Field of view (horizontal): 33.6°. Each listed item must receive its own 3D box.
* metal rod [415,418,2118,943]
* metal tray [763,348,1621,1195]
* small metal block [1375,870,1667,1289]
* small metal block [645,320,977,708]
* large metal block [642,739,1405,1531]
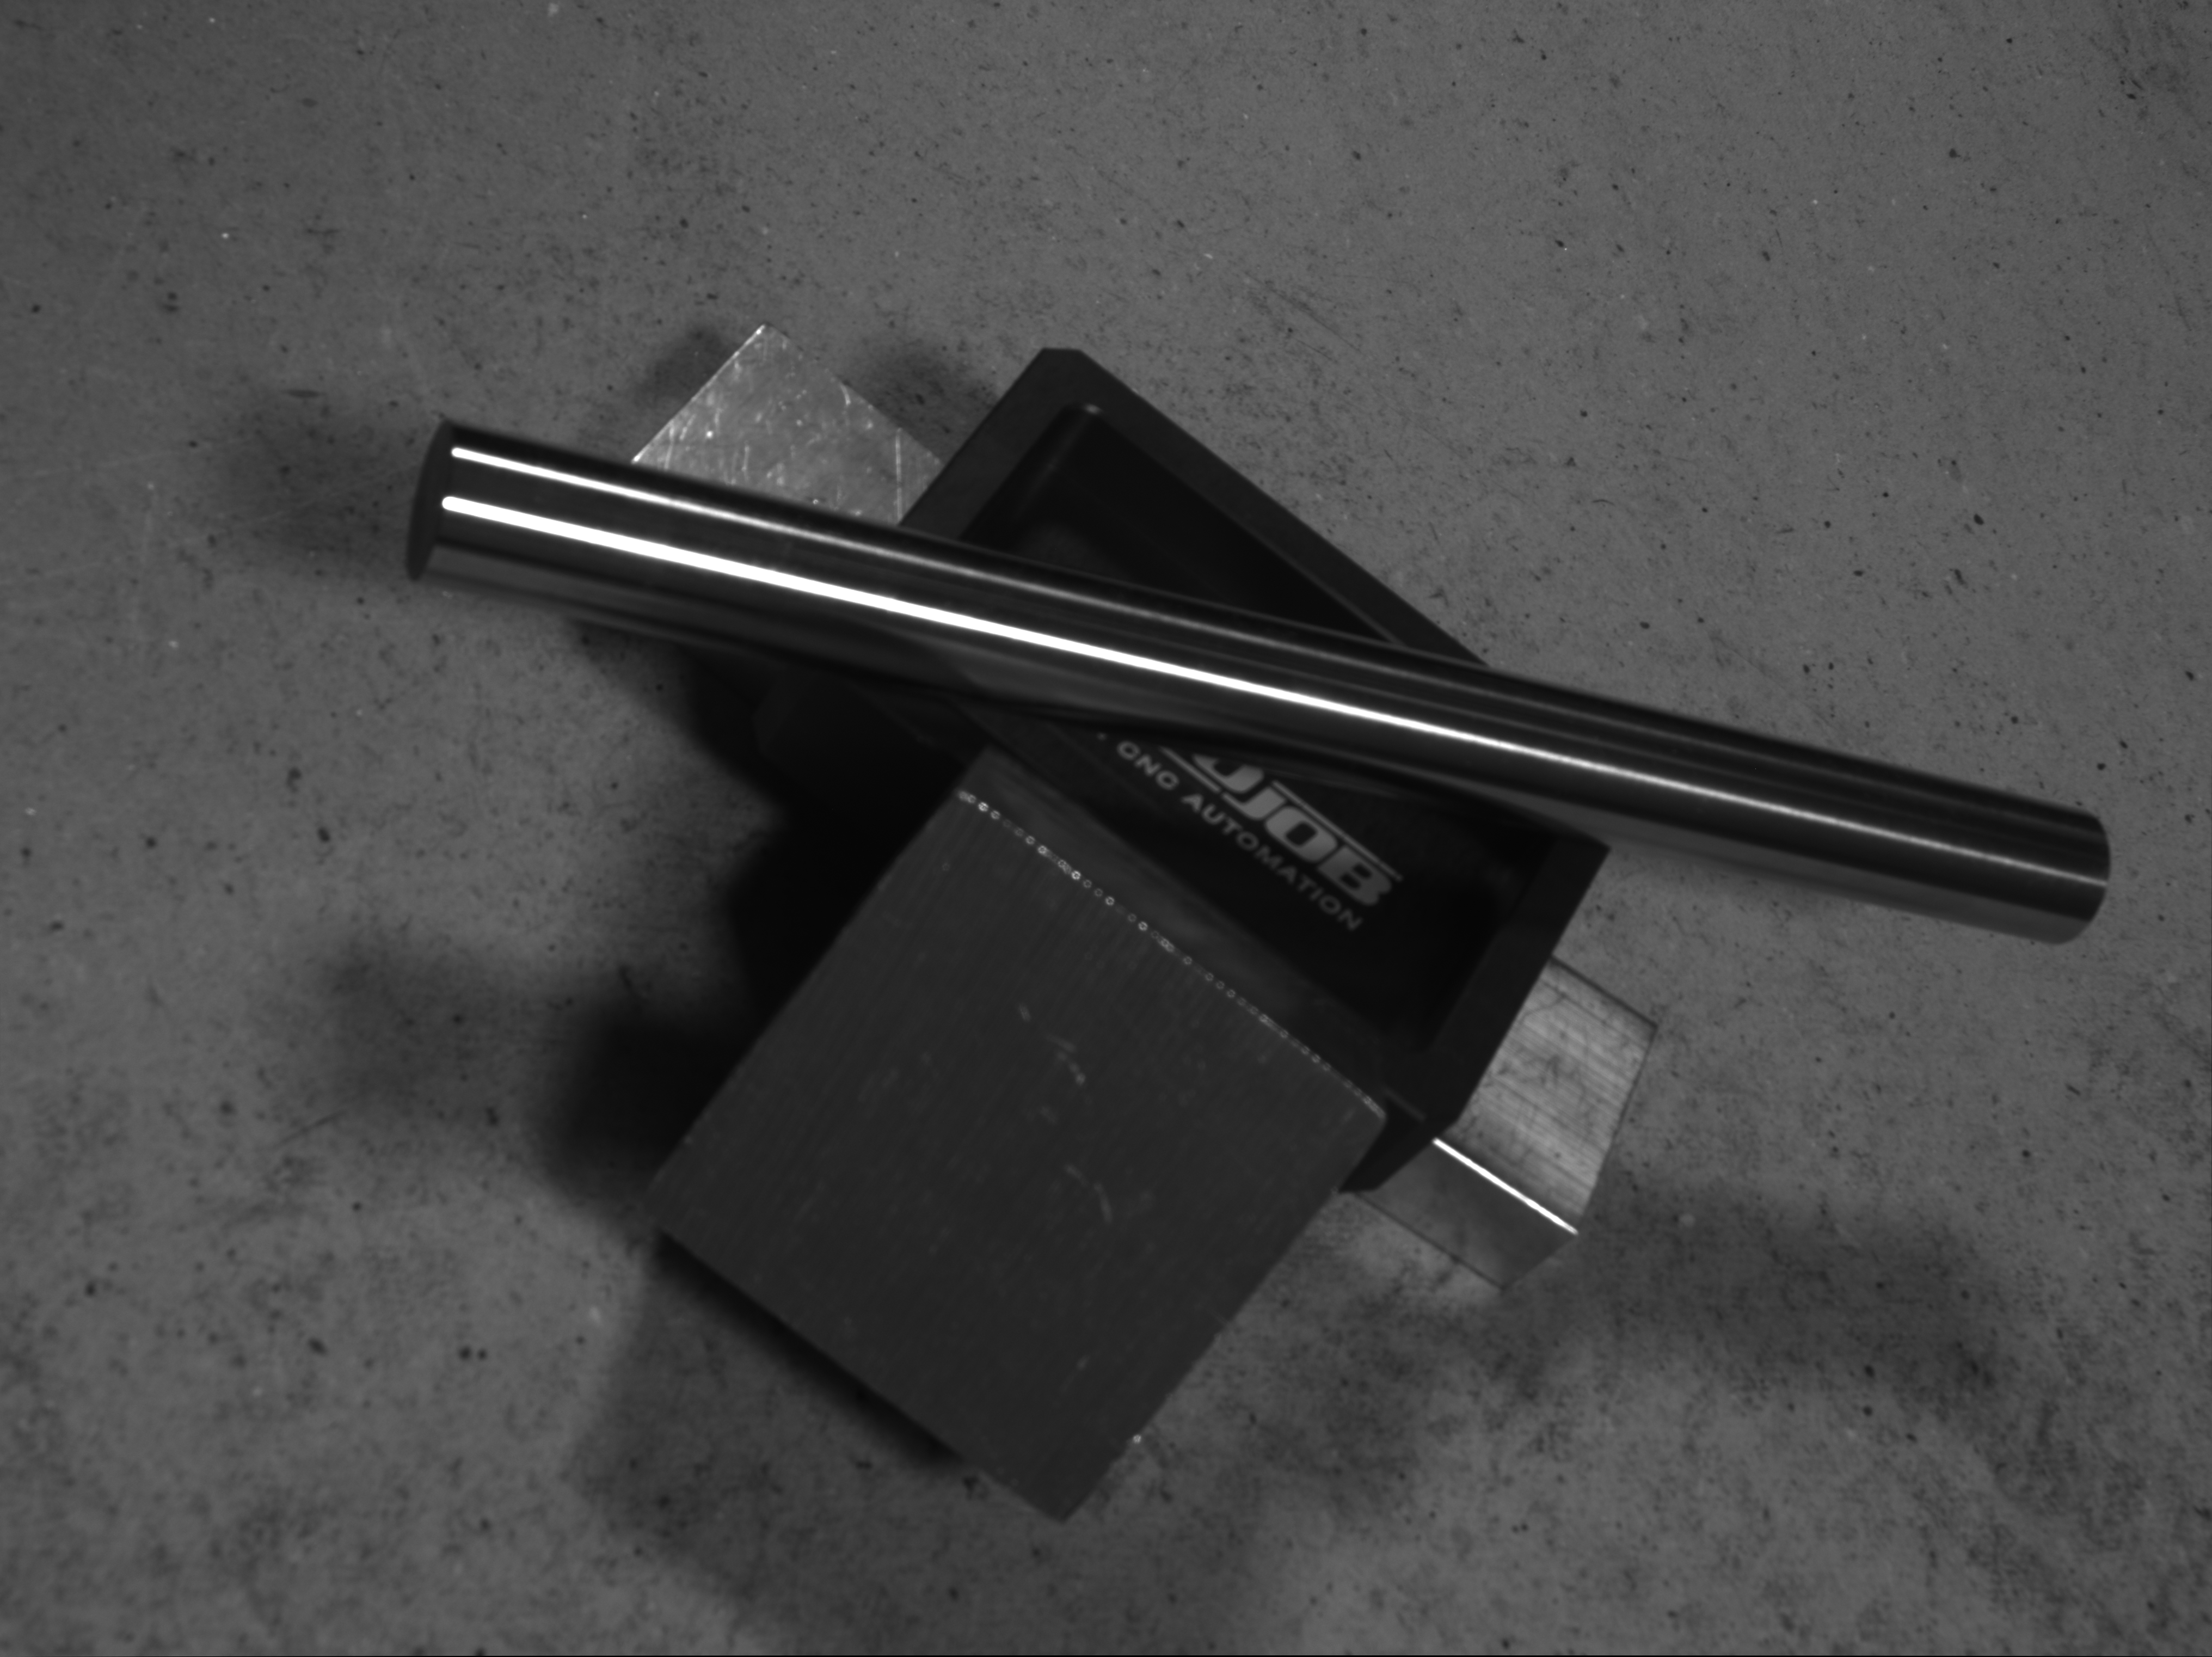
[{"bbox_3d":[0.037,-0.020,0.601,0.301,0.025,0.025,12,57,-22],"label":"metal rod"},{"bbox_3d":[0.019,-0.011,0.620,0.130,0.030,0.090,38,51,-3],"label":"metal tray"},{"bbox_3d":[0.065,0.044,0.648,0.050,0.025,0.050,34,51,-6],"label":"small metal block"},{"bbox_3d":[-0.056,-0.053,0.642,0.050,0.025,0.050,38,51,-2],"label":"small metal block"},{"bbox_3d":[-0.011,0.045,0.560,0.080,0.080,0.050,37,9,-3],"label":"large metal block"}]
